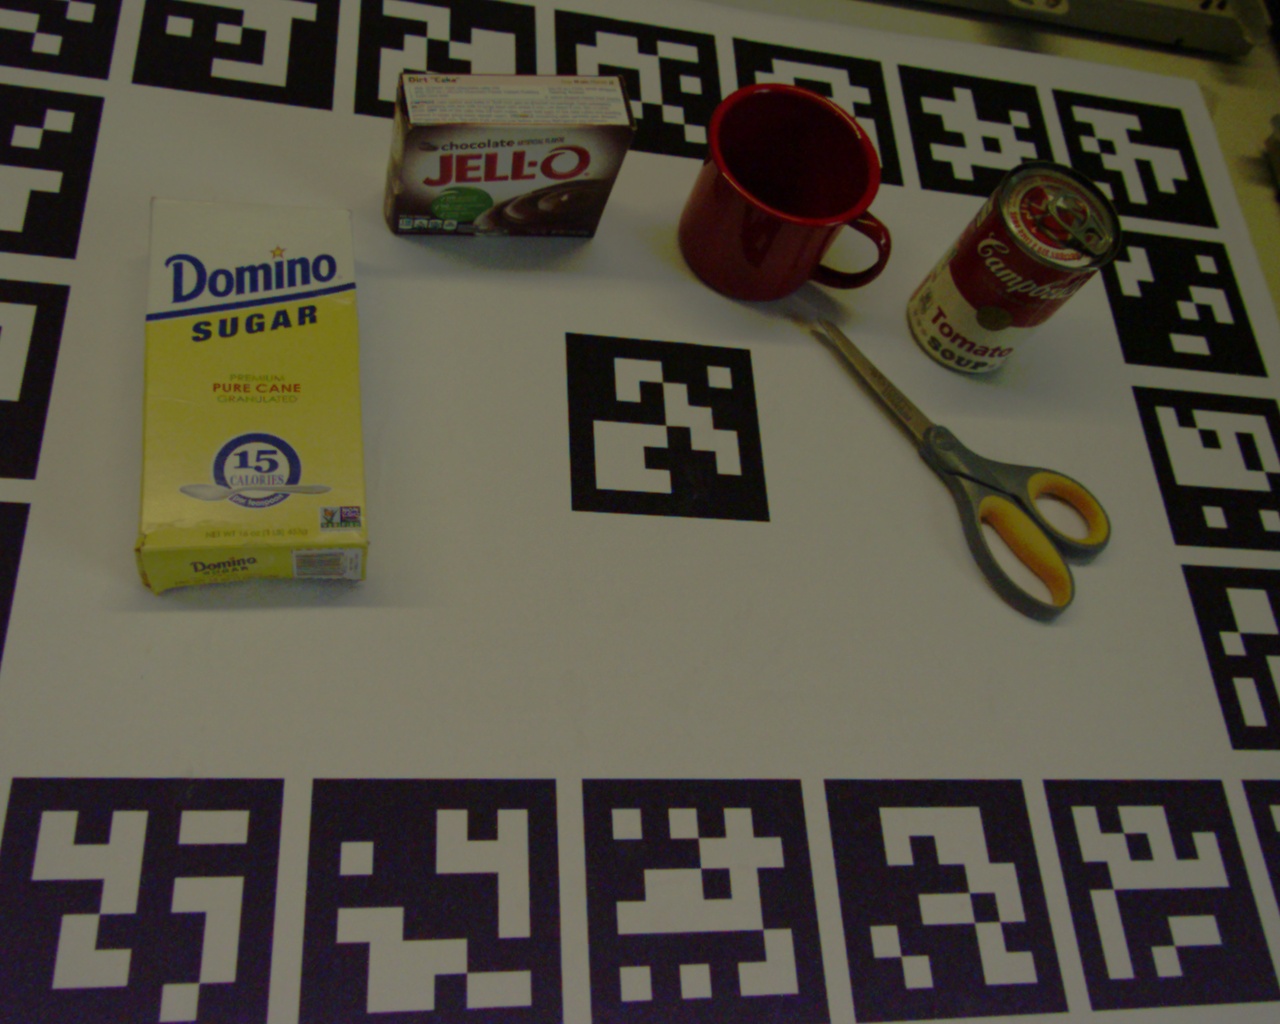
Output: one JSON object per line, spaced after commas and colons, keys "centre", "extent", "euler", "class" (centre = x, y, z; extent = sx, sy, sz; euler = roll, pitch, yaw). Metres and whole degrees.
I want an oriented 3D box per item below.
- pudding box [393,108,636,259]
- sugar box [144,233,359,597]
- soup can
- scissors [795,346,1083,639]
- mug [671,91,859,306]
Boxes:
{"centre": [-0.069, -0.173, 0.602], "extent": [0.113, 0.090, 0.039], "euler": [-7, 77, -18], "class": "pudding box"}
{"centre": [-0.185, -0.049, 0.552], "extent": [0.092, 0.045, 0.177], "euler": [-1, 70, -14], "class": "sugar box"}
{"centre": [0.187, -0.124, 0.654], "extent": [0.067, 0.102, 0.068], "euler": [5, 66, -13], "class": "soup can"}
{"centre": [0.162, -0.024, 0.643], "extent": [0.087, 0.016, 0.203], "euler": [-42, 84, -16], "class": "scissors"}
{"centre": [0.072, -0.165, 0.644], "extent": [0.092, 0.082, 0.118], "euler": [-35, 79, -23], "class": "mug"}
